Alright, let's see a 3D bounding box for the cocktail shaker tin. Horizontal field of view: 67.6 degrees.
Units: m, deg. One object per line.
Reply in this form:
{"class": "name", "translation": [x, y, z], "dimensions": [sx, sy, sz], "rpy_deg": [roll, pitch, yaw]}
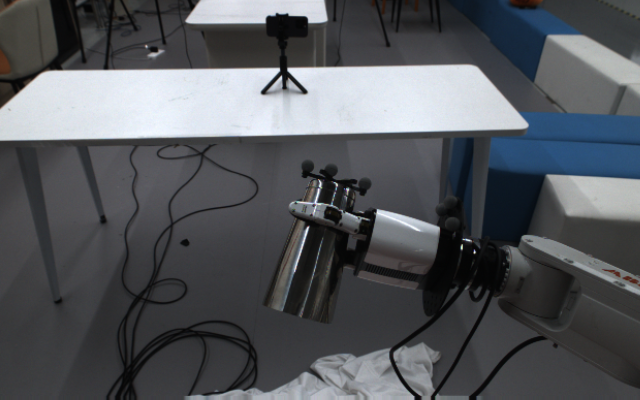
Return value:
{"class": "cocktail shaker tin", "translation": [-0.003, 0.062, 0.627], "dimensions": [0.093, 0.093, 0.170], "rpy_deg": [13, 79, 15]}
